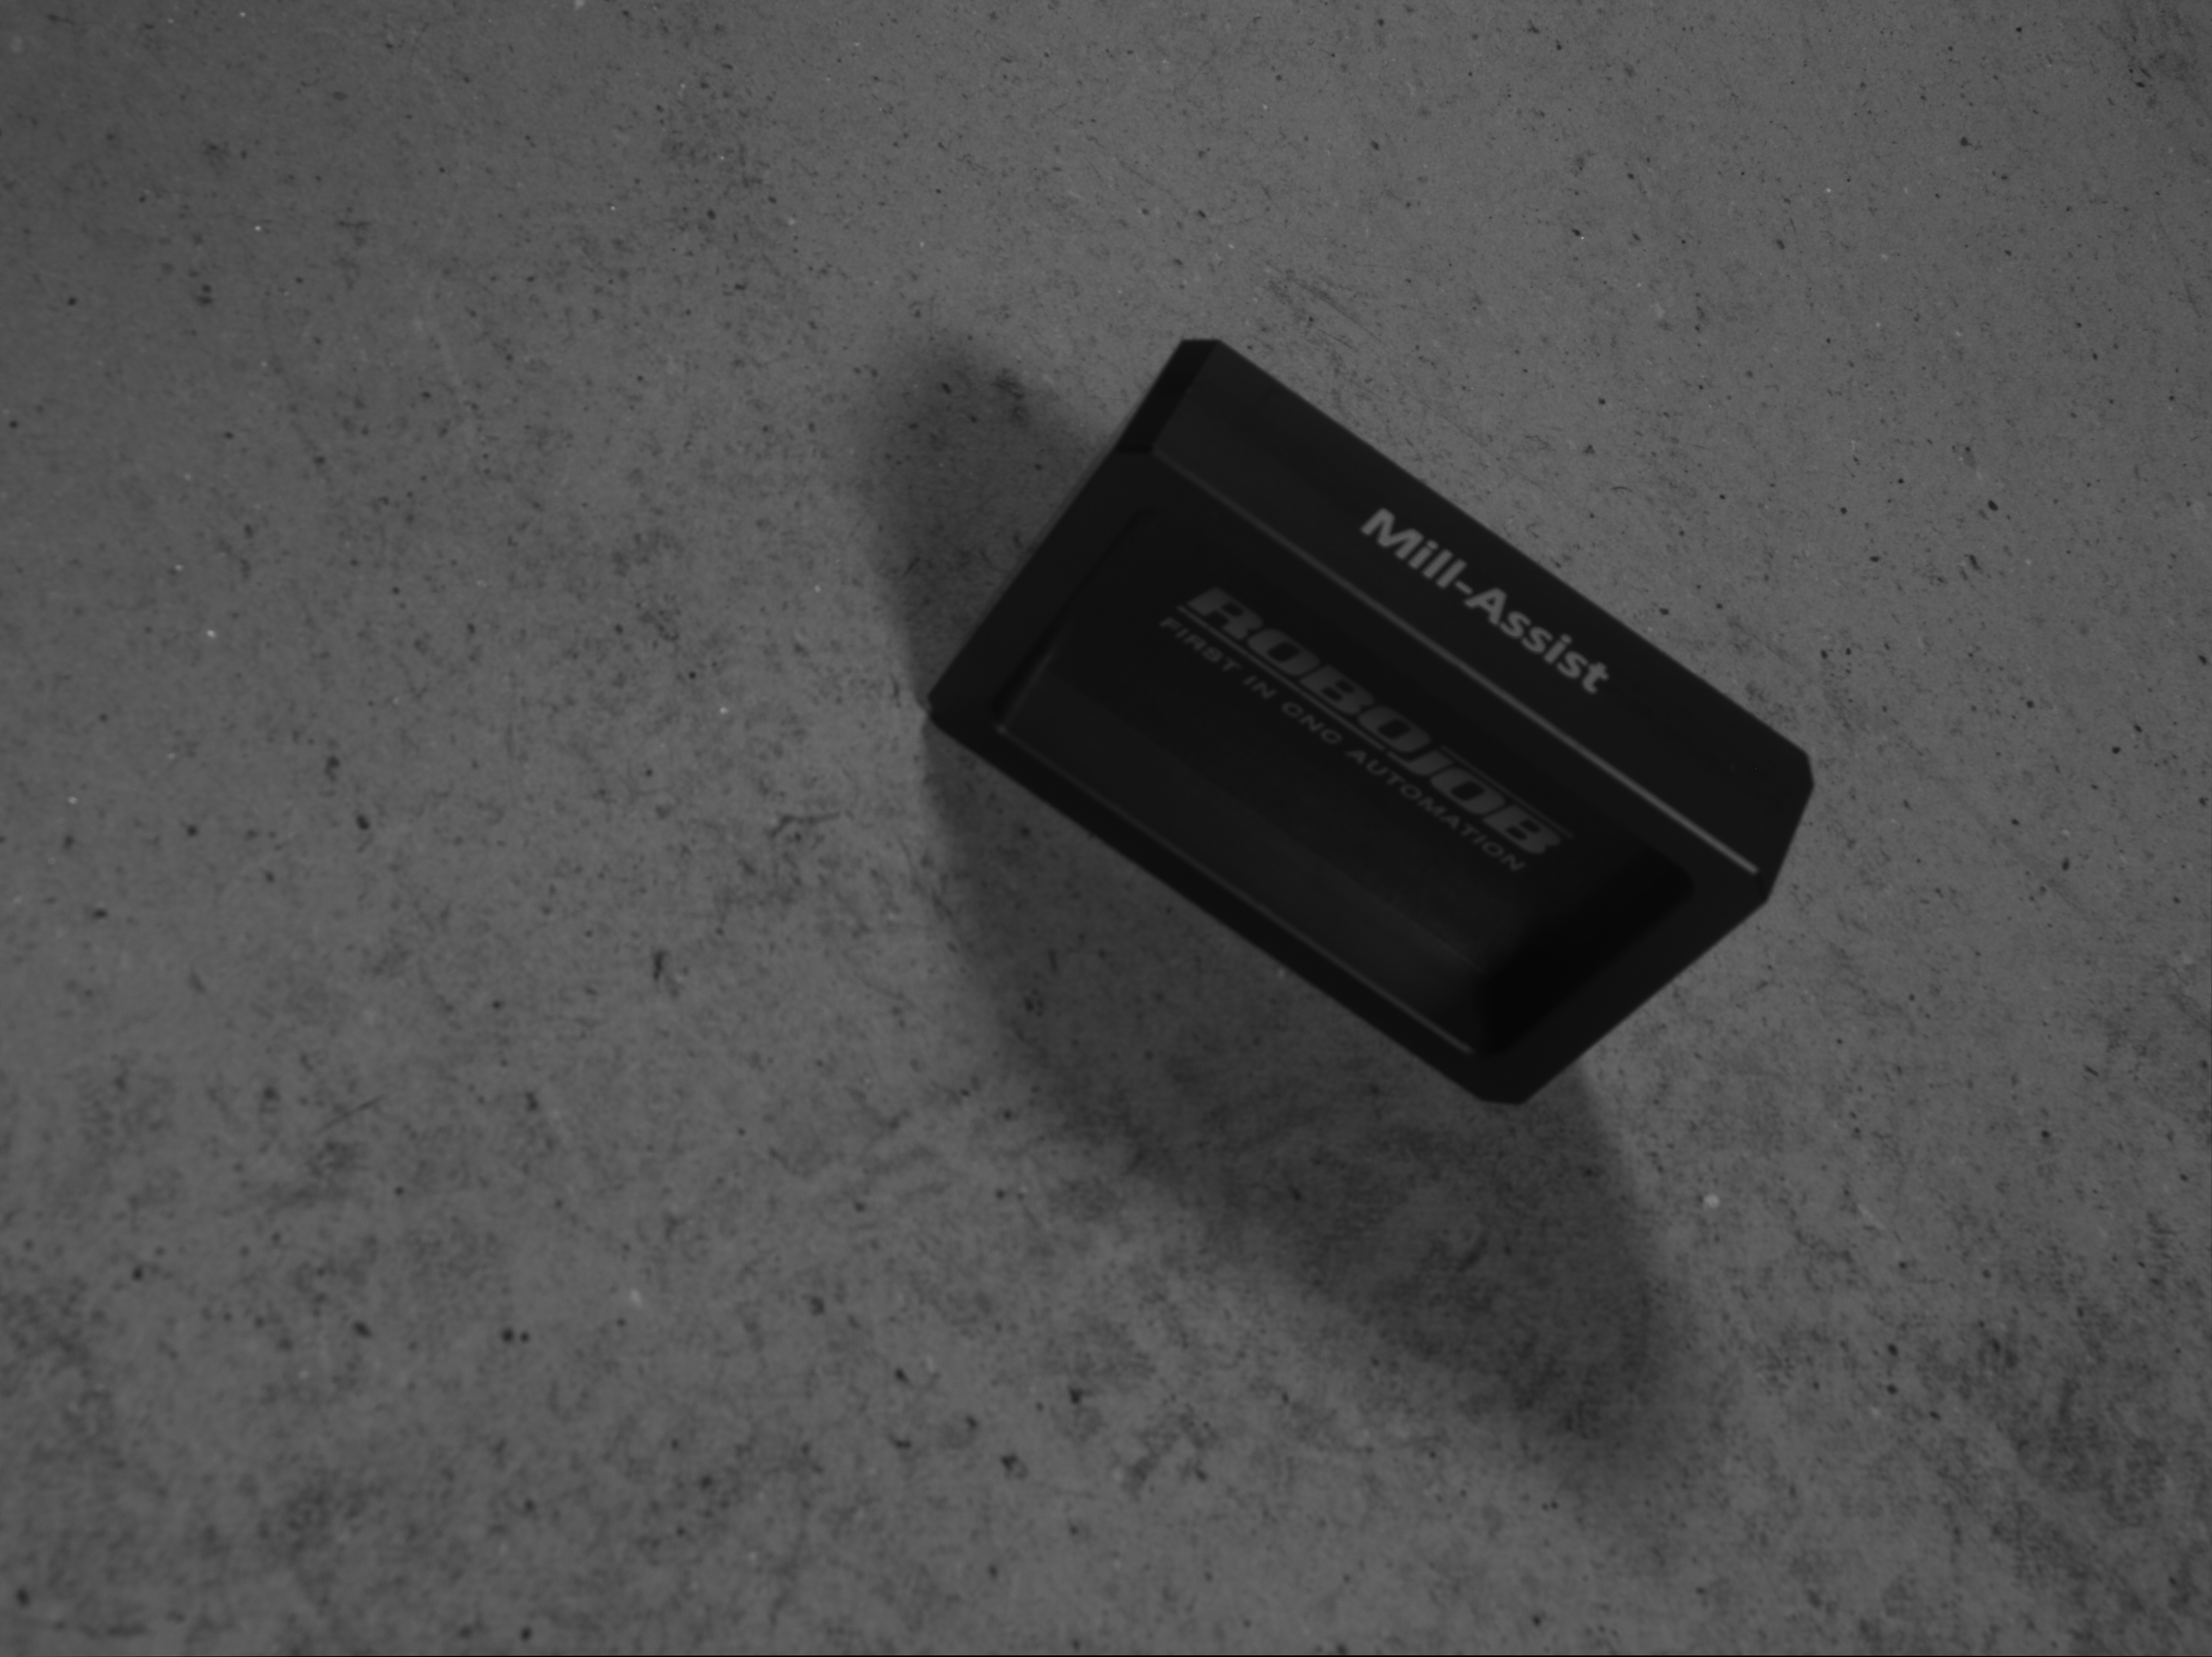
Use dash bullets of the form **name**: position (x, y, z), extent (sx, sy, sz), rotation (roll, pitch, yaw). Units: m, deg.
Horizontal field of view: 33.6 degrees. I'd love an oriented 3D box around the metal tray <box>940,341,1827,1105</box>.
- **metal tray**: position (0.046, -0.015, 0.632), extent (0.130, 0.090, 0.030), rotation (34, 51, -5)
